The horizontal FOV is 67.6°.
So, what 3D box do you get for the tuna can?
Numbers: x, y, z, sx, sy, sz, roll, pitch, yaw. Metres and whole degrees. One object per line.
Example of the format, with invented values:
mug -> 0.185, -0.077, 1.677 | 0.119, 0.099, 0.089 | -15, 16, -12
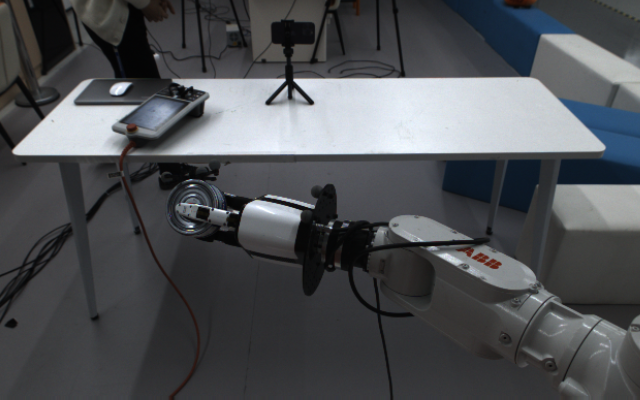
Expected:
tuna can -> -0.183, 0.012, 0.716 | 0.085, 0.085, 0.034 | 12, -6, 14
